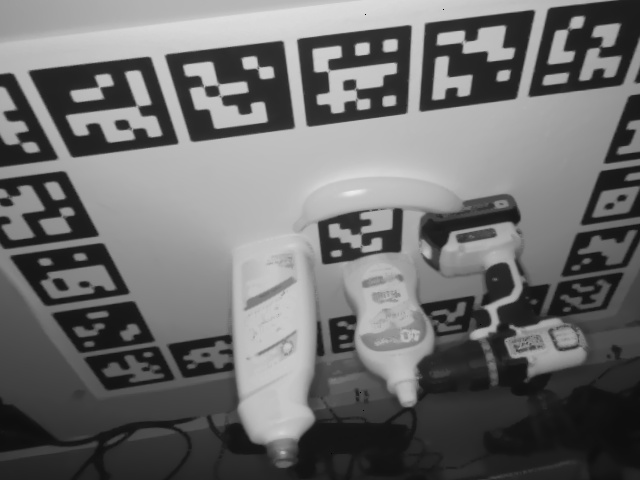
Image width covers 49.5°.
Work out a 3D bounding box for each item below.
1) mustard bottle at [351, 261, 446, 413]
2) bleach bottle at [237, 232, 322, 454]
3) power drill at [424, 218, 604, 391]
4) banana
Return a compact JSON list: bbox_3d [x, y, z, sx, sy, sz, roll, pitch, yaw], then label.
[{"bbox_3d":[0.094,0.112,0.806,0.096,0.192,0.058,-6,137,-2],"label":"mustard bottle"},{"bbox_3d":[-0.036,0.105,0.743,0.102,0.252,0.067,-13,135,4],"label":"bleach bottle"},{"bbox_3d":[0.193,0.070,0.755,0.185,0.188,0.057,-8,143,2],"label":"power drill"},{"bbox_3d":[0.071,-0.038,0.755,0.198,0.039,0.073,-7,132,-6],"label":"banana"}]
